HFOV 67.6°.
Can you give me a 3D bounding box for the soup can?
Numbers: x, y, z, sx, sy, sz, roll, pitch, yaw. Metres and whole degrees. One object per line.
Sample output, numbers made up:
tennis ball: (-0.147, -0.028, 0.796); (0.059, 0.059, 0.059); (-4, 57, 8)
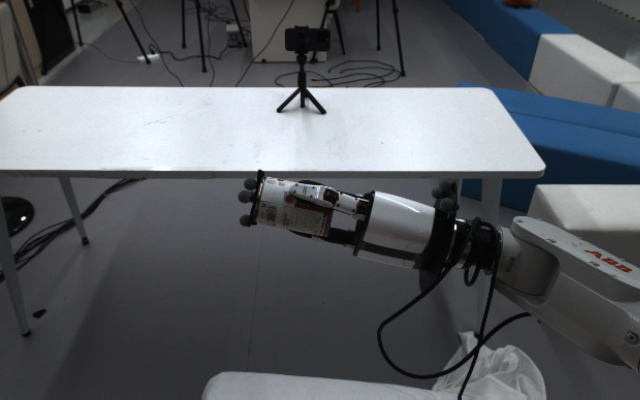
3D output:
soup can: (-0.032, 0.010, 0.667); (0.101, 0.067, 0.067); (12, 35, -2)
